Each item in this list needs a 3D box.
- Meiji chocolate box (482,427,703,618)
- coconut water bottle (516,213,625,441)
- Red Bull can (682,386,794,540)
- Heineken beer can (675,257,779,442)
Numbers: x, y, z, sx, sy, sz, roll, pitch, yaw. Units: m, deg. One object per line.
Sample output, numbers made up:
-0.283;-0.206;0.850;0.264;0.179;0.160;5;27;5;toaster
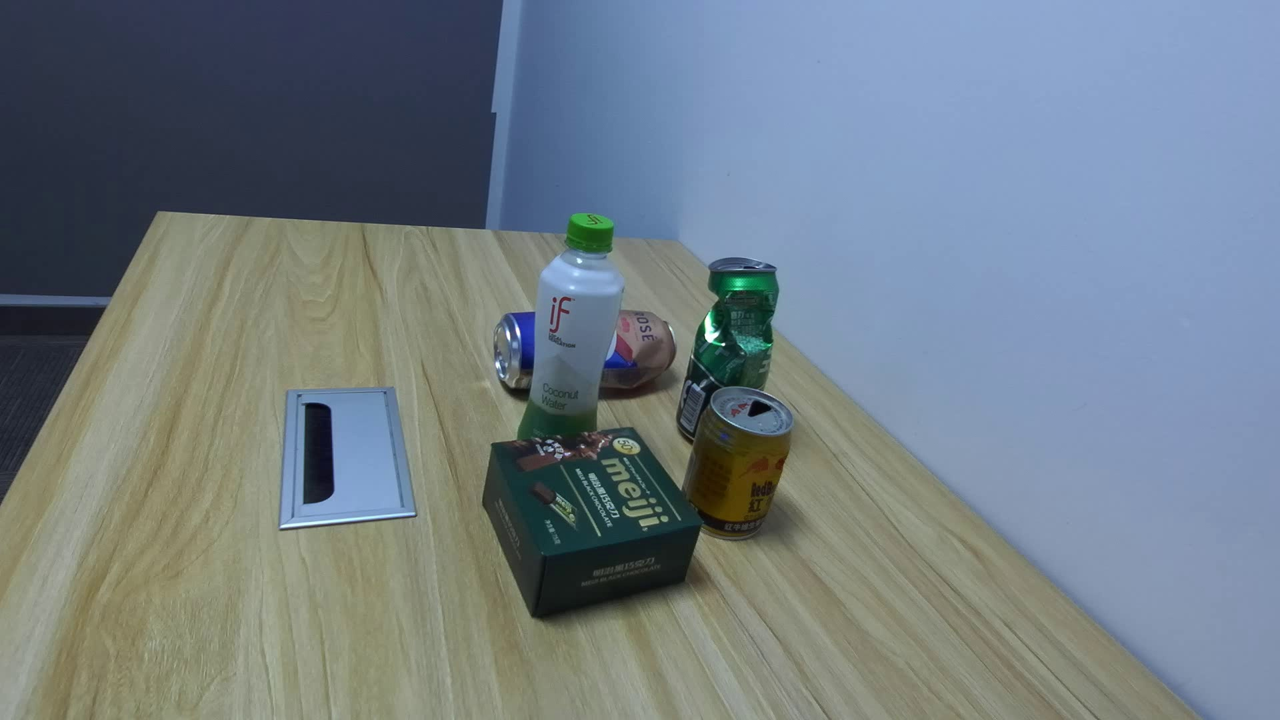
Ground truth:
-0.034;0.100;0.464;0.109;0.056;0.109;-4;32;-28;Meiji chocolate box
-0.049;-0.012;0.515;0.063;0.188;0.063;9;27;-4;coconut water bottle
0.069;0.073;0.509;0.069;0.092;0.069;10;28;-5;Red Bull can
0.078;-0.003;0.589;0.078;0.159;0.067;23;22;36;Heineken beer can
